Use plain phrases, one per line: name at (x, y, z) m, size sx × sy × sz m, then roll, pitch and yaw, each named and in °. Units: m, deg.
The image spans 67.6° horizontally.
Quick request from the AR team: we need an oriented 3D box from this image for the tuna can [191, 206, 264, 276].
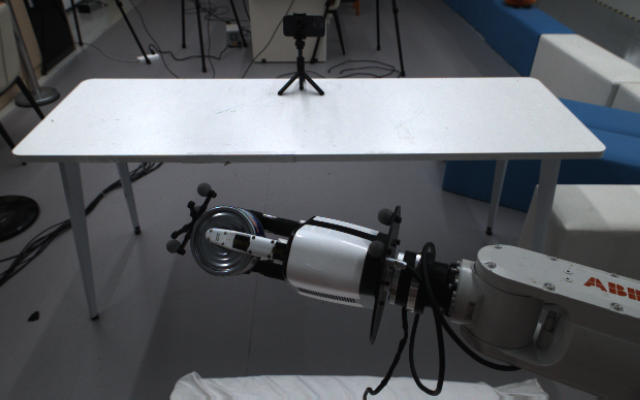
tuna can at (-0.109, 0.053, 0.584) m, size 0.085 × 0.085 × 0.034 m, roll 9°, pitch -4°, yaw 10°
